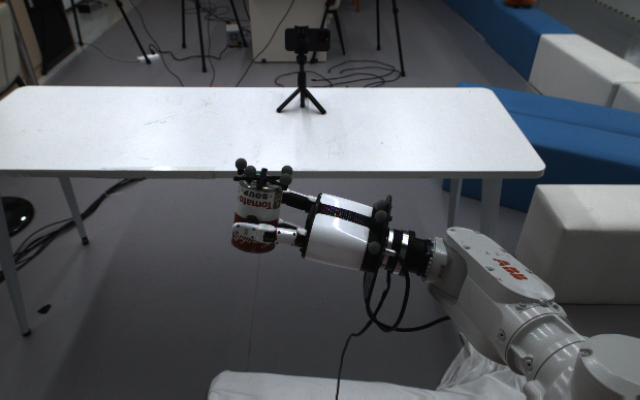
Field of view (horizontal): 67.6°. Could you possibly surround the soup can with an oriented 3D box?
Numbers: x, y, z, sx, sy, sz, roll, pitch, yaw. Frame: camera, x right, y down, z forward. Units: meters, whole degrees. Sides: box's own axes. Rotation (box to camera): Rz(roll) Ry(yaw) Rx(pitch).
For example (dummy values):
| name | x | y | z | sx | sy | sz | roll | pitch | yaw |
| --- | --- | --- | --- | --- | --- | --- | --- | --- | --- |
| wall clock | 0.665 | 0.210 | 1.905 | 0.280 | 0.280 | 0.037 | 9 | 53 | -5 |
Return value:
| name | x | y | z | sx | sy | sz | roll | pitch | yaw |
| --- | --- | --- | --- | --- | --- | --- | --- | --- | --- |
| soup can | -0.093 | 0.020 | 0.724 | 0.067 | 0.101 | 0.067 | 9 | 20 | -3 |
